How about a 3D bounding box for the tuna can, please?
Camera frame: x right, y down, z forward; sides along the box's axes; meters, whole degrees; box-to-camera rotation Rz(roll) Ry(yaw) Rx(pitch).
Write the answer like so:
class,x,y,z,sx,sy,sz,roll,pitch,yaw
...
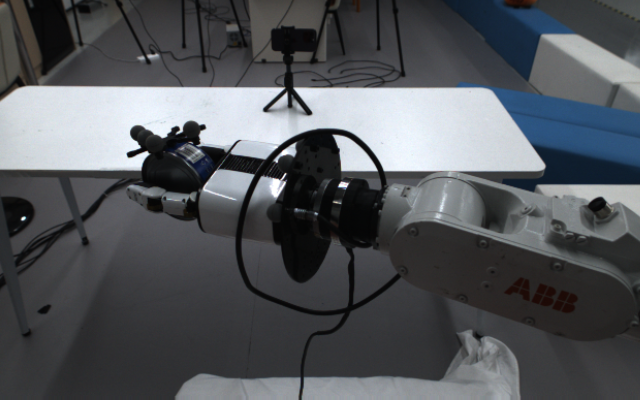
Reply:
class,x,y,z,sx,sy,sz,roll,pitch,yaw
tuna can,-0.152,-0.022,0.541,0.085,0.085,0.034,17,36,20
